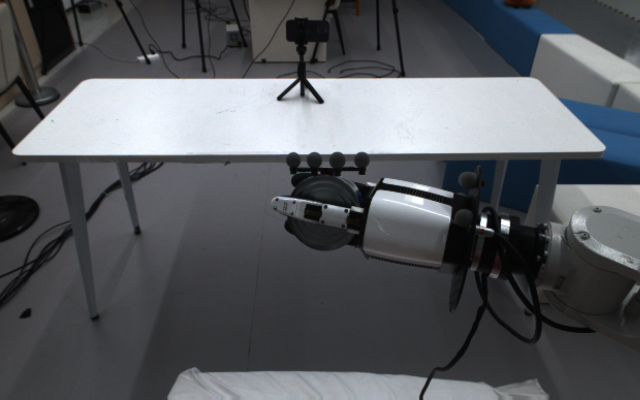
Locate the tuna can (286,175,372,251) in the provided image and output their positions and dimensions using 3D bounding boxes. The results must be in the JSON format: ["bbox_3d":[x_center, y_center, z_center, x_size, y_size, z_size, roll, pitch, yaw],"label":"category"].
[{"bbox_3d":[0.011,0.017,0.549,0.085,0.085,0.034,12,8,14],"label":"tuna can"}]
